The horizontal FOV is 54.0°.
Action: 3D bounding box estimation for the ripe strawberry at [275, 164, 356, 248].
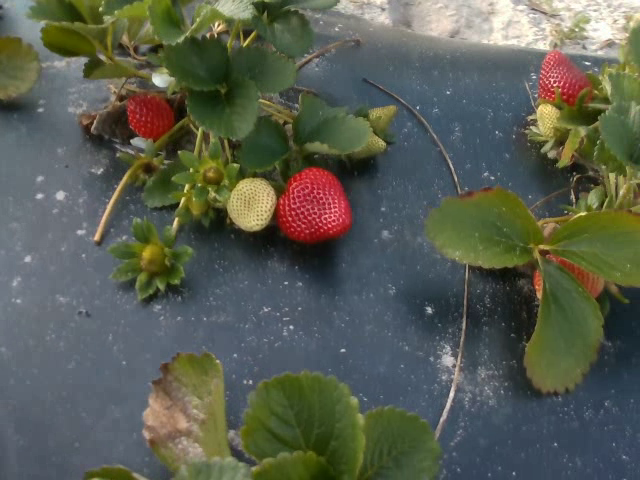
[{"bbox_3d":[0.000,-0.016,0.375,0.048,0.051,0.055,32,7,-35],"label":"ripe strawberry"}]
